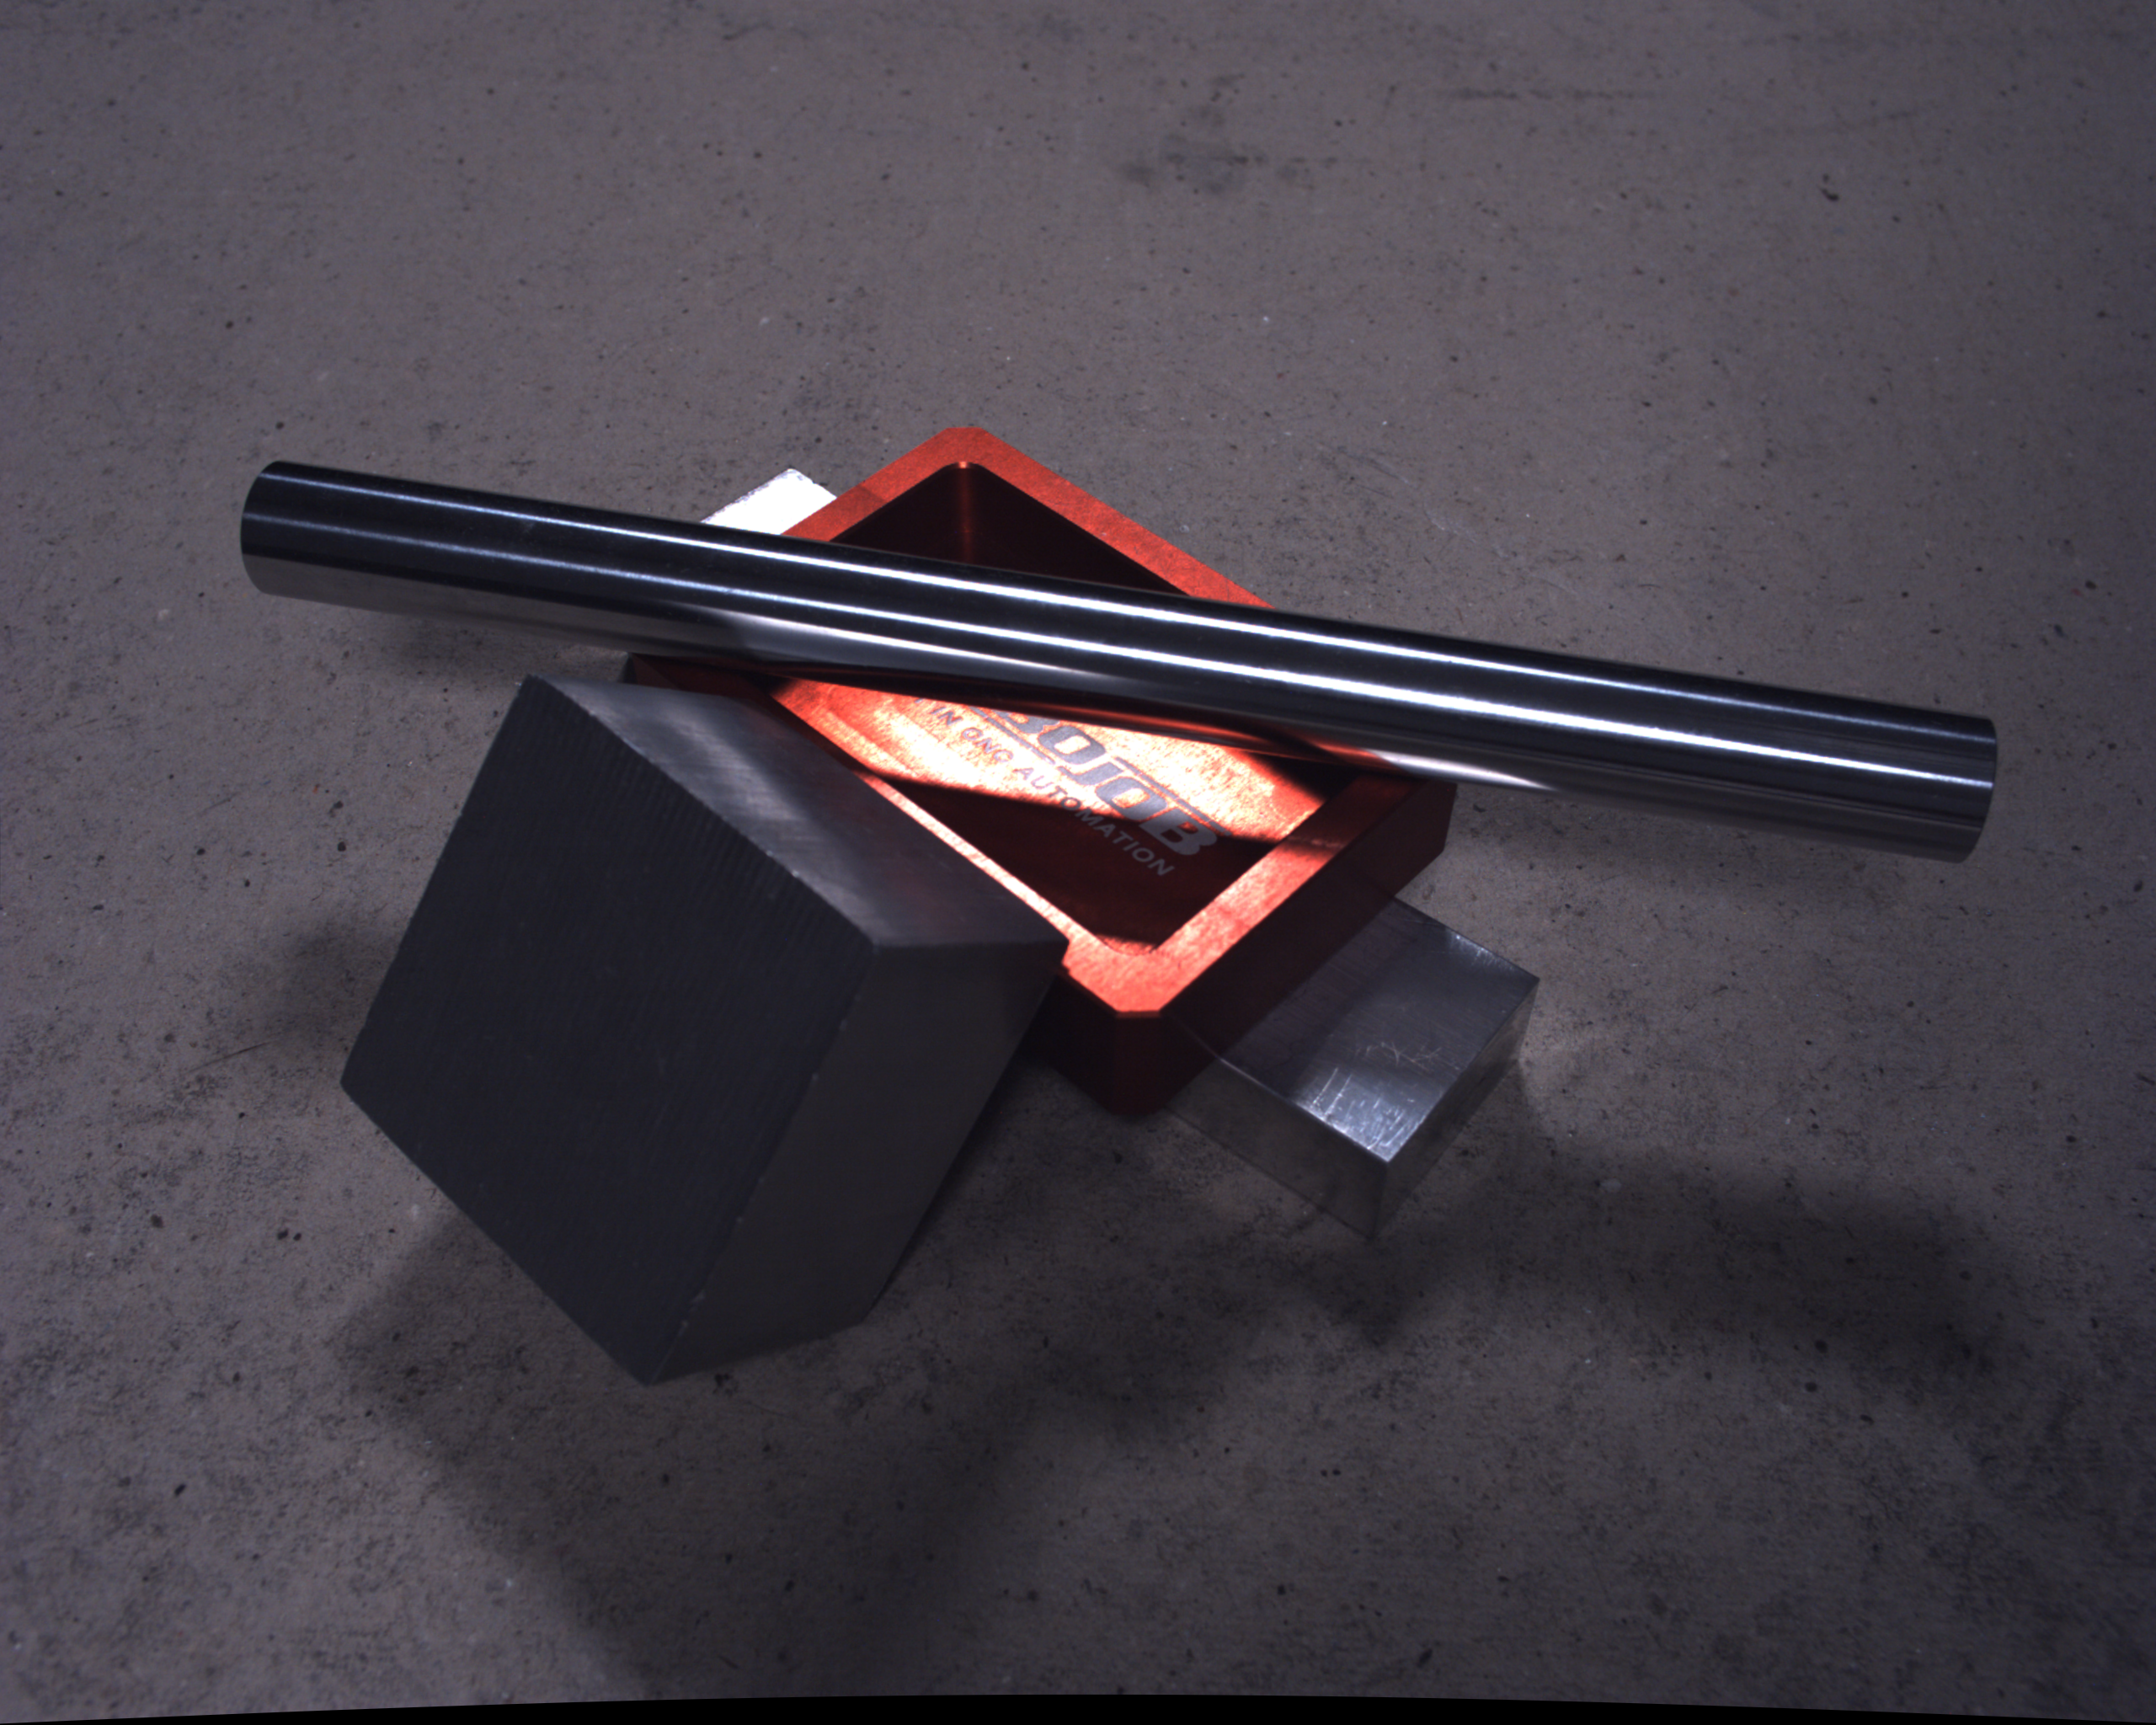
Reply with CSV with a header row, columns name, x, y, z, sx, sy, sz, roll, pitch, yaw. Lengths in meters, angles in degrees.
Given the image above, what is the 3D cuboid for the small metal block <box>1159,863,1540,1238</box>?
name,x,y,z,sx,sy,sz,roll,pitch,yaw
small metal block,0.047,0.031,0.379,0.050,0.025,0.050,31,56,23

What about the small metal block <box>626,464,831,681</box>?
name,x,y,z,sx,sy,sz,roll,pitch,yaw
small metal block,-0.064,-0.053,0.448,0.050,0.025,0.050,37,59,26

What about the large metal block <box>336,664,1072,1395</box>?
name,x,y,z,sx,sy,sz,roll,pitch,yaw
large metal block,-0.062,0.024,0.337,0.080,0.080,0.050,35,17,26

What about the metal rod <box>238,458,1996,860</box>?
name,x,y,z,sx,sy,sz,roll,pitch,yaw
metal rod,0.000,-0.037,0.364,0.302,0.025,0.025,9,51,7

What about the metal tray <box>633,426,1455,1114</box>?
name,x,y,z,sx,sy,sz,roll,pitch,yaw
metal tray,-0.007,-0.023,0.387,0.130,0.030,0.090,36,58,26
